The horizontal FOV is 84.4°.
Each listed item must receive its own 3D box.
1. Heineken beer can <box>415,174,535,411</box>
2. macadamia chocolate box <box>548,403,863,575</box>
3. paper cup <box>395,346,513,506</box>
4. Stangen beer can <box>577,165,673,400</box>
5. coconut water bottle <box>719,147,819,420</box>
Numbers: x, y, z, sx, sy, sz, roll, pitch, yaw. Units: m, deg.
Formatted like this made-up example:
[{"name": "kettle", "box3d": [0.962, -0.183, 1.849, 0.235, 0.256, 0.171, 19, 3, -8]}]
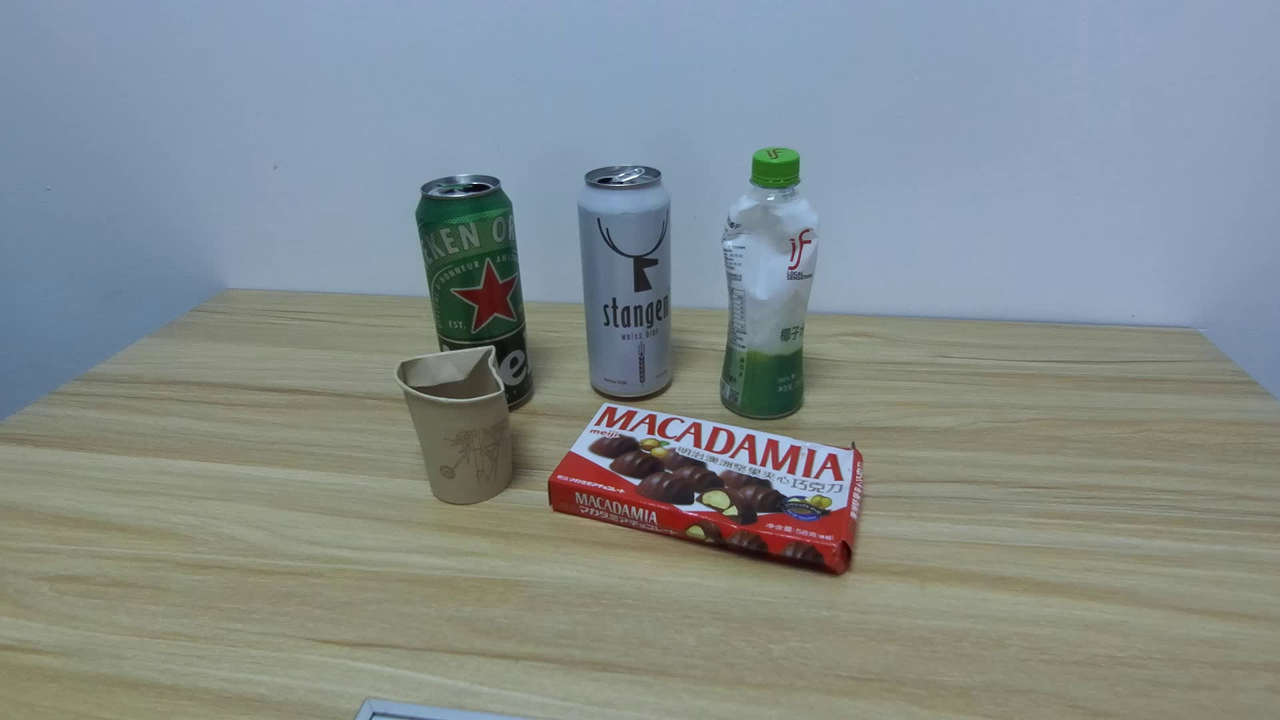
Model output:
[{"name": "Heineken beer can", "box3d": [-0.120, -0.044, 0.523, 0.067, 0.169, 0.067, -2, 27, 1]}, {"name": "macadamia chocolate box", "box3d": [0.044, 0.075, 0.443, 0.182, 0.028, 0.106, 8, 30, 17]}, {"name": "paper cup", "box3d": [-0.115, 0.044, 0.449, 0.066, 0.084, 0.071, -8, 29, -13]}, {"name": "Stangen beer can", "box3d": [-0.009, -0.055, 0.531, 0.067, 0.171, 0.067, -1, 28, 1]}, {"name": "coconut water bottle", "box3d": [0.091, -0.051, 0.494, 0.069, 0.187, 0.069, 0, 29, 0]}]
